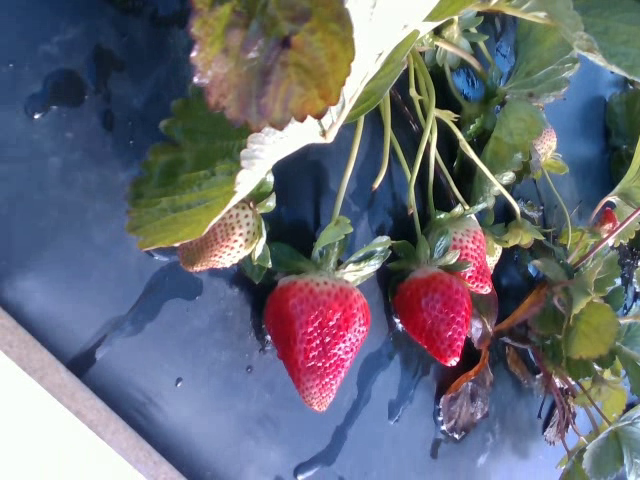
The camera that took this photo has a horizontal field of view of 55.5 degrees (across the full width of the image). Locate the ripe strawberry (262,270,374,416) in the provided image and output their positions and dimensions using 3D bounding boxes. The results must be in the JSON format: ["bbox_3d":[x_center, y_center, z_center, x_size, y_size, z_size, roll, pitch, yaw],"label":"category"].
[{"bbox_3d":[0.000,0.043,0.252,0.050,0.065,0.050,14,-37,-18],"label":"ripe strawberry"}]

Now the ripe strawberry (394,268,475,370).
[{"bbox_3d":[0.060,0.043,0.313,0.044,0.055,0.042,-9,-26,-10],"label":"ripe strawberry"}]
